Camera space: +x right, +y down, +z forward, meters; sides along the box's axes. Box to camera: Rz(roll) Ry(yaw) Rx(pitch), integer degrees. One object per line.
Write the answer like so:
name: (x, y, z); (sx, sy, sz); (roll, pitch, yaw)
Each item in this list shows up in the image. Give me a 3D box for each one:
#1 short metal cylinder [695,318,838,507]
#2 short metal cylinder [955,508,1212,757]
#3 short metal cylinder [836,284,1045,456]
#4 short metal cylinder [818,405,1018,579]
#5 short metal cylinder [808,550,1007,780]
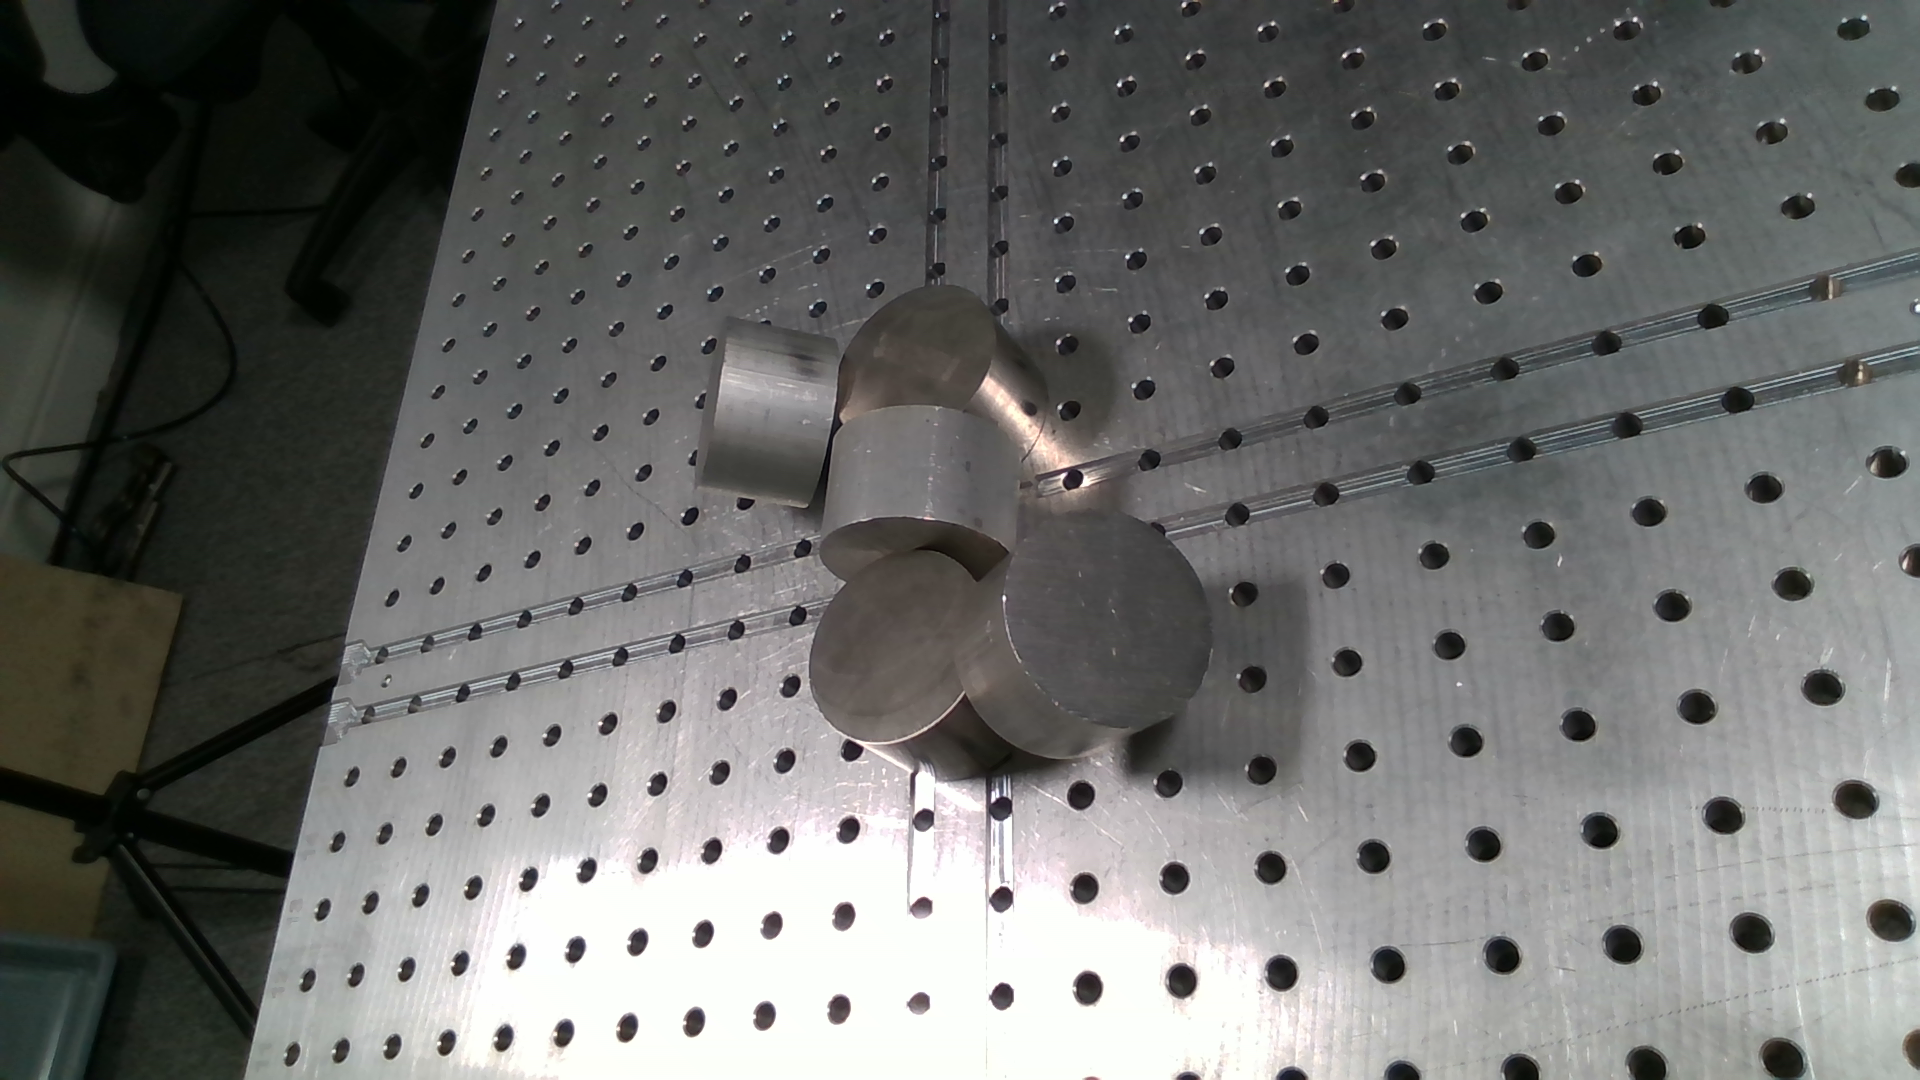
short metal cylinder: (-0.090, -0.058, 0.632); (0.080, 0.050, 0.080); (-171, 91, -75)
short metal cylinder: (0.043, 0.035, 0.499); (0.050, 0.080, 0.080); (134, 147, -61)
short metal cylinder: (-0.008, -0.066, 0.611); (0.080, 0.050, 0.080); (-14, 59, 25)
short metal cylinder: (-0.016, -0.013, 0.570); (0.080, 0.080, 0.050); (-10, 61, 27)
short metal cylinder: (-0.013, 0.051, 0.553); (0.080, 0.050, 0.080); (-14, 59, 25)
